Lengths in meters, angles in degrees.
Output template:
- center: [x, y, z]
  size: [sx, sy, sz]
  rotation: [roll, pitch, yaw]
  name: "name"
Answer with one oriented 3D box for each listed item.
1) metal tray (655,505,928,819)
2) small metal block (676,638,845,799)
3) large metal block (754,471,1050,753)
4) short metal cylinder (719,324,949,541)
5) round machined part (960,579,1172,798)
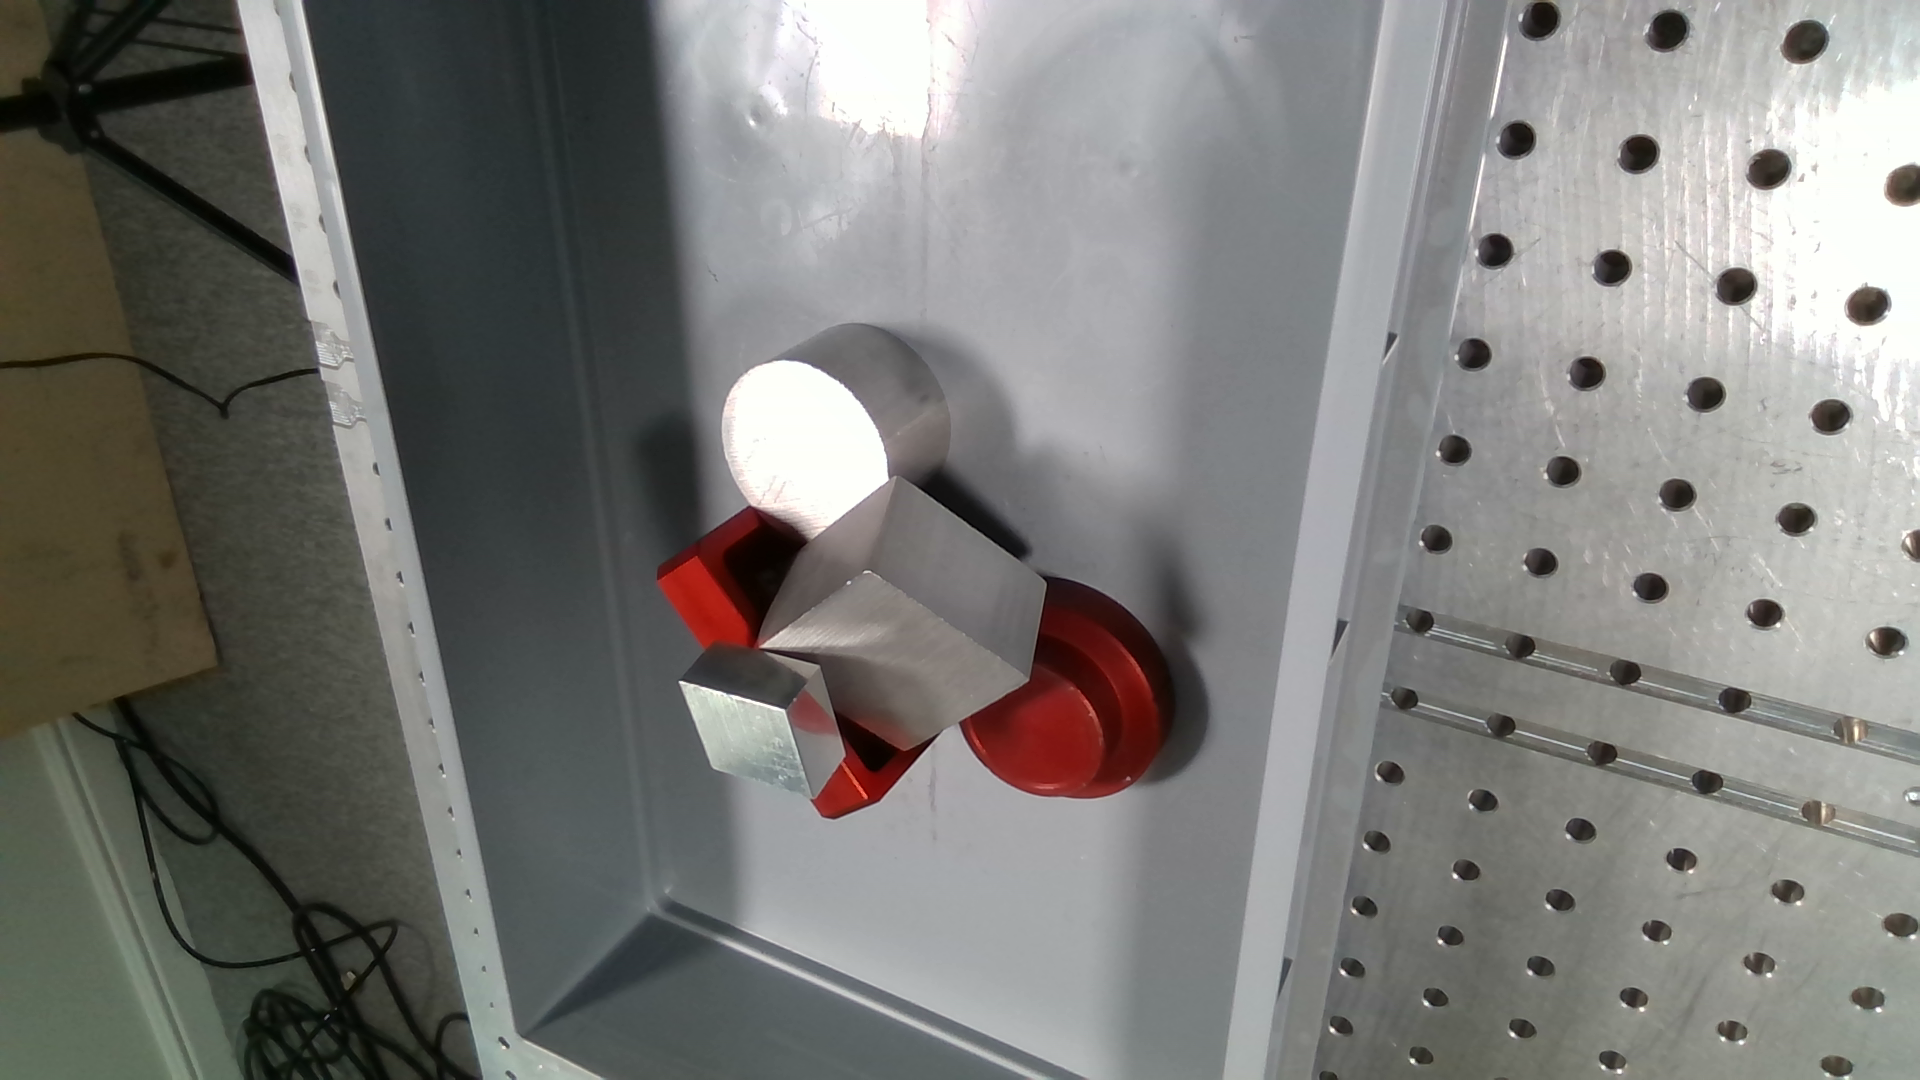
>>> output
- center: [-0.061, 0.042, 0.596]
  size: [0.030, 0.090, 0.130]
  rotation: [-28, 99, 38]
  name: "metal tray"
- center: [-0.078, 0.070, 0.541]
  size: [0.050, 0.025, 0.050]
  rotation: [11, 134, 26]
  name: "small metal block"
- center: [-0.024, 0.031, 0.548]
  size: [0.080, 0.050, 0.080]
  rotation: [36, 133, -22]
  name: "large metal block"
- center: [-0.052, -0.044, 0.569]
  size: [0.080, 0.050, 0.080]
  rotation: [14, 122, 25]
  name: "short metal cylinder"
- center: [0.037, 0.068, 0.582]
  size: [0.098, 0.042, 0.098]
  rotation: [14, 122, 25]
  name: "round machined part"
